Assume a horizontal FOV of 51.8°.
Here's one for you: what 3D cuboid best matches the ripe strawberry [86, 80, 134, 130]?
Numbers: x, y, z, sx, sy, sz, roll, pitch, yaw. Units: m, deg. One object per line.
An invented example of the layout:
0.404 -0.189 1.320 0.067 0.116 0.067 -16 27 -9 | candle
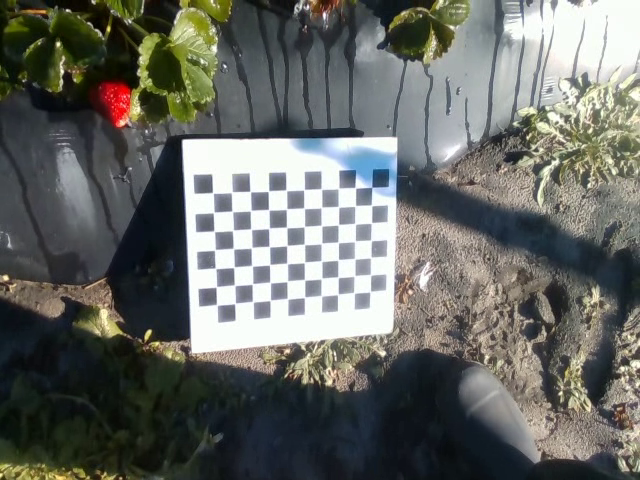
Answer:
-0.189 -0.124 0.601 0.041 0.053 0.047 -10 -25 -17 | ripe strawberry
